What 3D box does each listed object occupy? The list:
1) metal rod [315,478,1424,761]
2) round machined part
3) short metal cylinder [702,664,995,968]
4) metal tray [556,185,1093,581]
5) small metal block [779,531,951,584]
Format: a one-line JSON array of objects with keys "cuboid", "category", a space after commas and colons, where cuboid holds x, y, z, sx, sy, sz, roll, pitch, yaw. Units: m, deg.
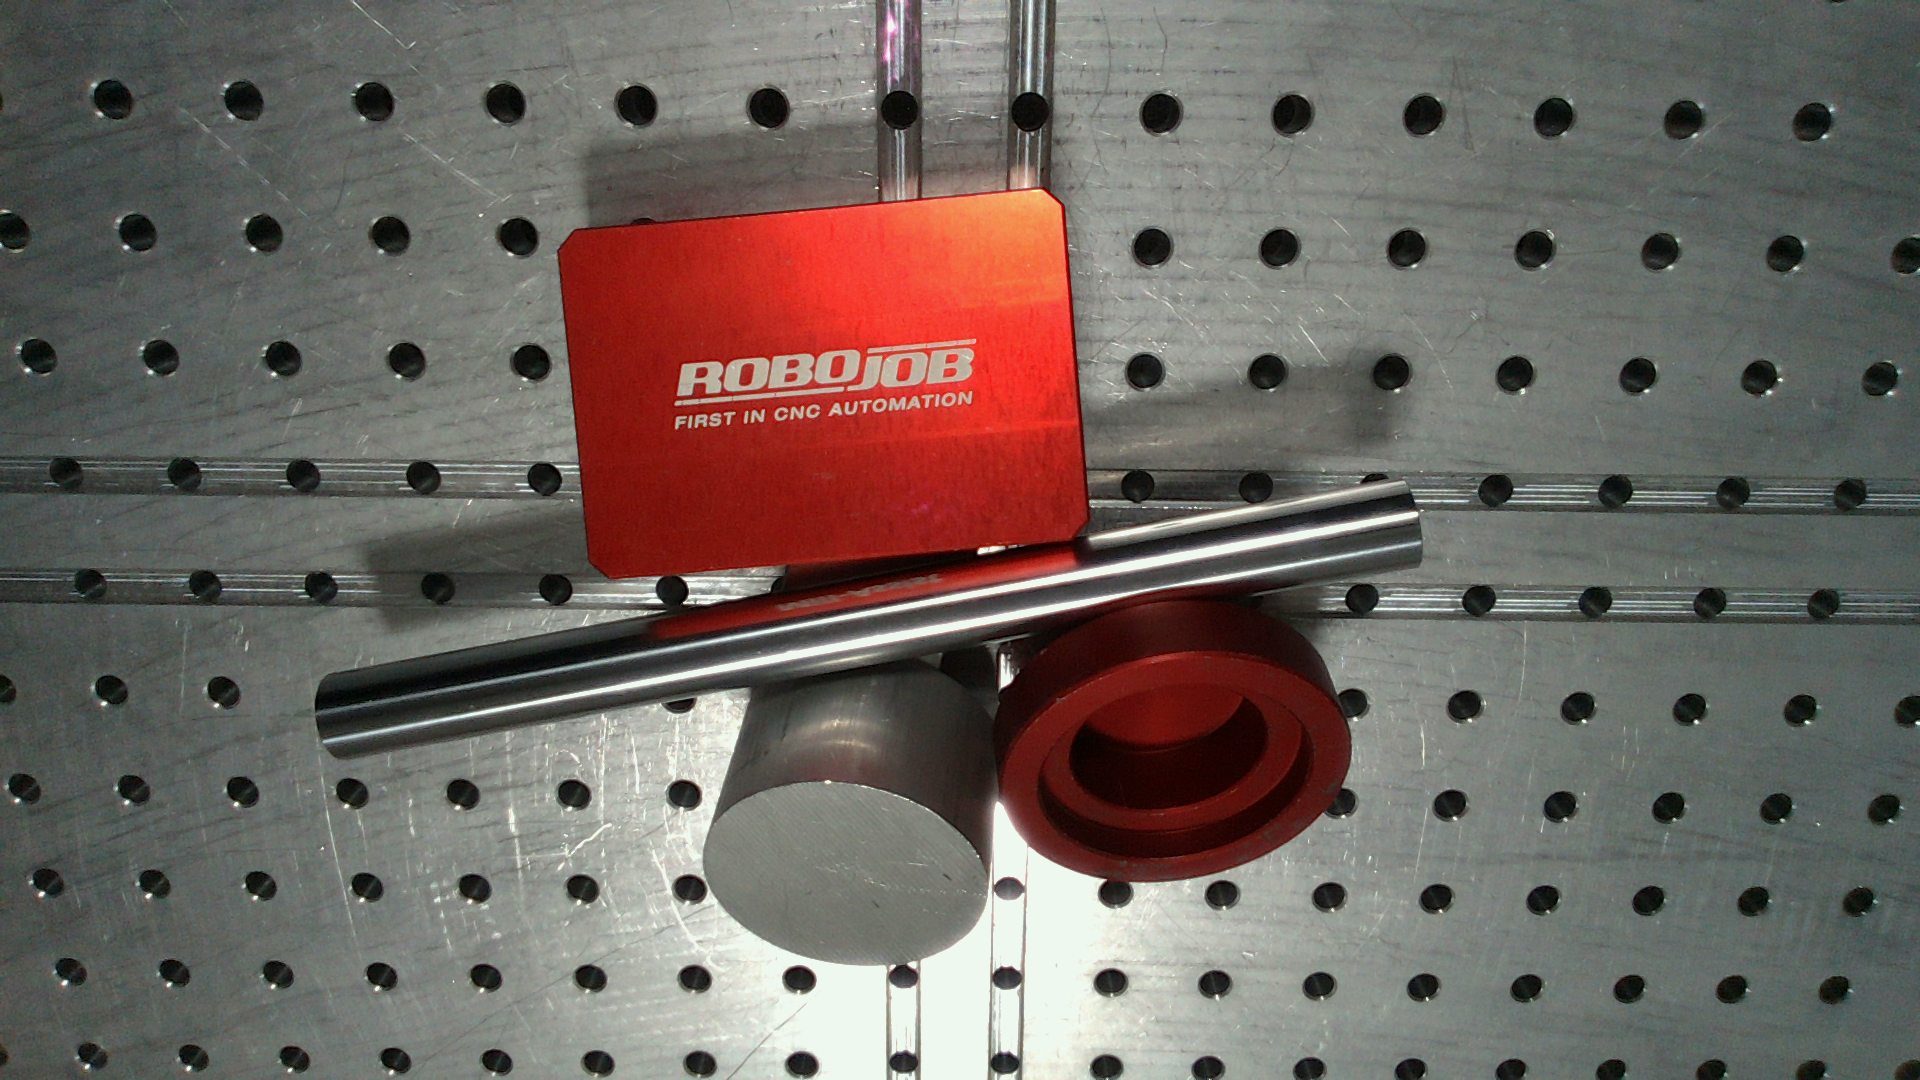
[{"cuboid": [-0.027, 0.023, 0.377, 0.300, 0.025, 0.025, -10, 110, 4], "category": "metal rod"}, {"cuboid": [0.059, 0.053, 0.395, 0.098, 0.042, 0.098, -3, 132, -3], "category": "round machined part"}, {"cuboid": [-0.029, 0.079, 0.400, 0.080, 0.050, 0.080, 3, 129, 4], "category": "short metal cylinder"}, {"cuboid": [-0.034, -0.040, 0.364, 0.130, 0.030, 0.090, -5, 92, 1], "category": "metal tray"}, {"cuboid": [-0.029, 0.018, 0.412, 0.050, 0.025, 0.050, 17, 109, -6], "category": "small metal block"}]
